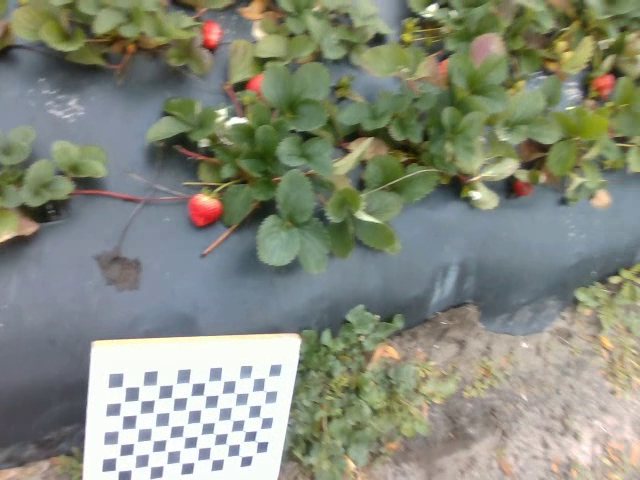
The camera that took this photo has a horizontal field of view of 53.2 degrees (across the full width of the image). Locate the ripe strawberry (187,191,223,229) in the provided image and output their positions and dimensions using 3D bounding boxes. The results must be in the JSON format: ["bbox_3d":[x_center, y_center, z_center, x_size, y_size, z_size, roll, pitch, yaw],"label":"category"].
[{"bbox_3d":[-0.200,-0.049,1.083,0.061,0.065,0.049,12,10,-29],"label":"ripe strawberry"}]
